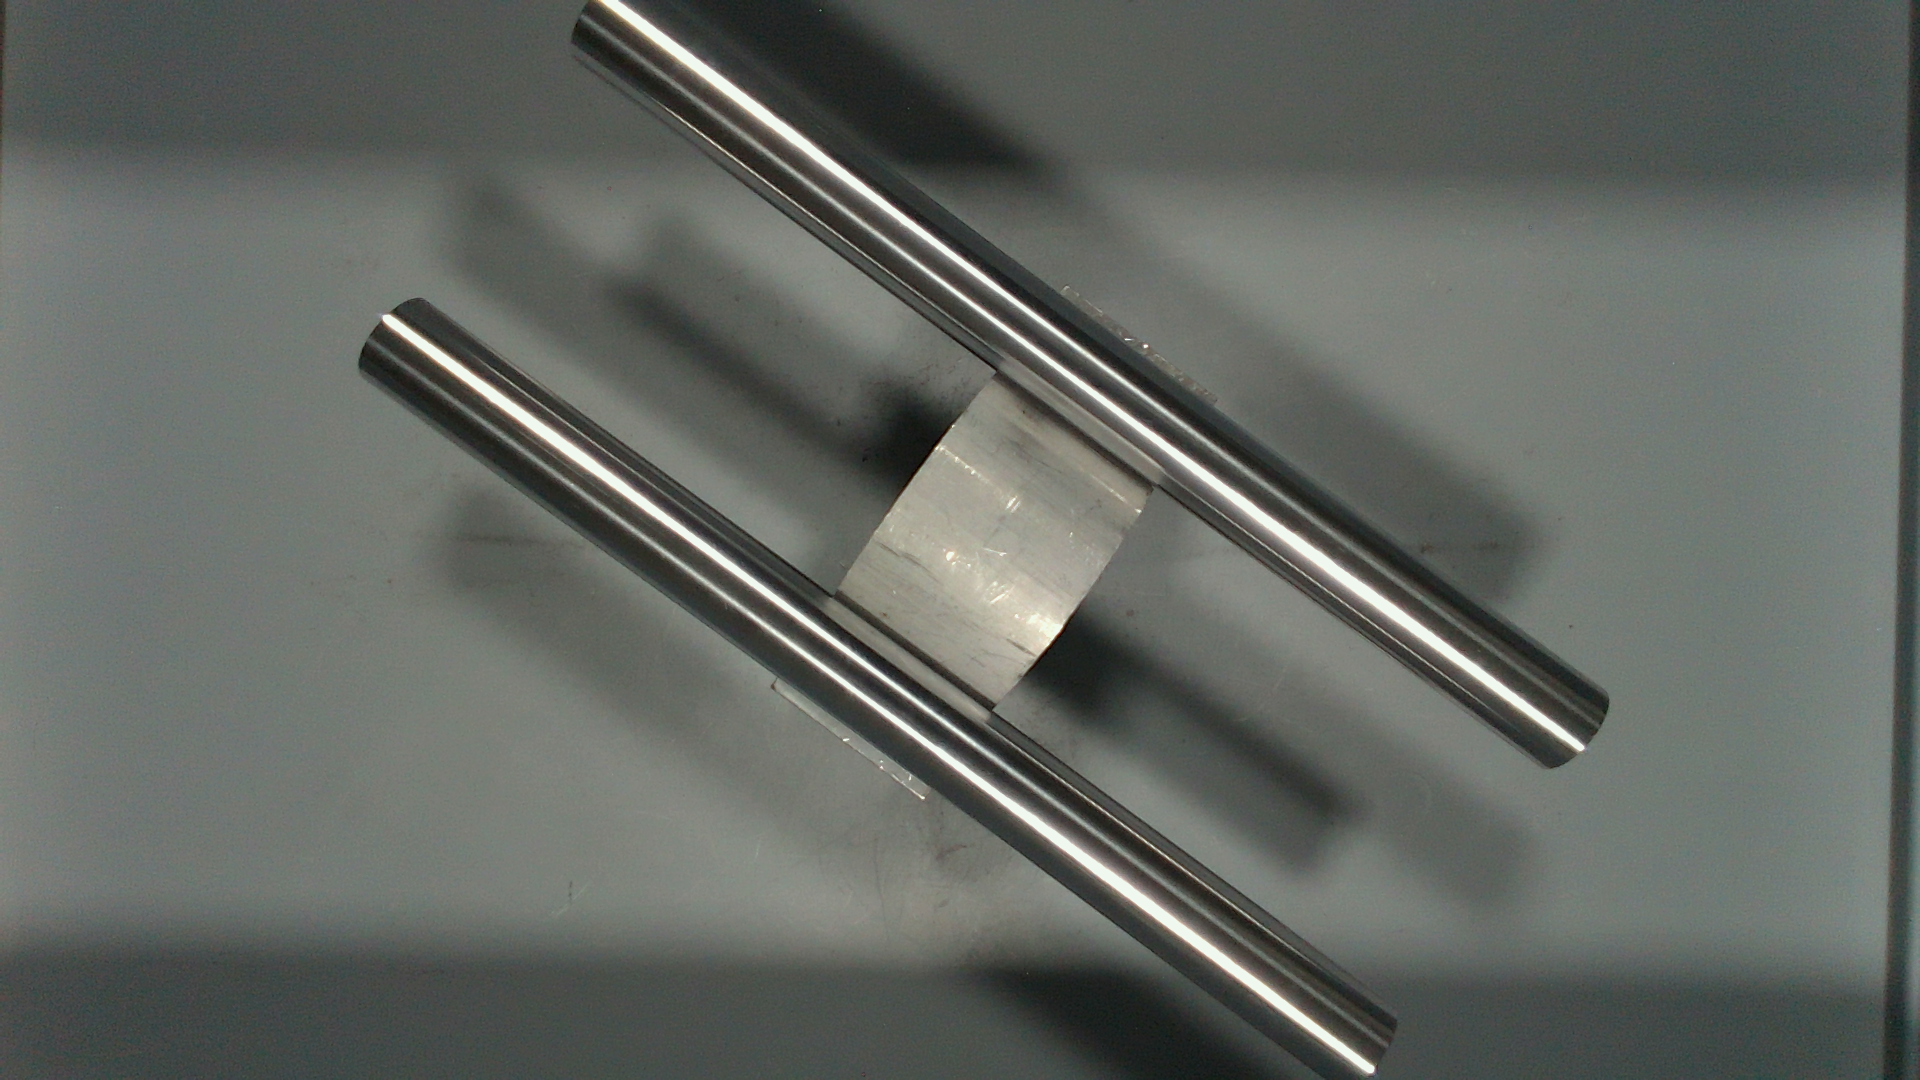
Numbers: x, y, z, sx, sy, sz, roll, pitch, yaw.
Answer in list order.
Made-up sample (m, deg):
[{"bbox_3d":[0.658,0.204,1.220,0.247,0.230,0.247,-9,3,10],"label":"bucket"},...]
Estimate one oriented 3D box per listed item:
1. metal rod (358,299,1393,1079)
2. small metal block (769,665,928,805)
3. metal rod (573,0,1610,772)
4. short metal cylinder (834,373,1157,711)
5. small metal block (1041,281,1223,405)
[{"bbox_3d":[-0.021,0.038,0.346,0.300,0.025,0.025,36,90,0],"label":"metal rod"},{"bbox_3d":[-0.022,0.044,0.382,0.050,0.050,0.025,37,90,0],"label":"small metal block"},{"bbox_3d":[0.033,-0.041,0.344,0.300,0.025,0.025,36,90,0],"label":"metal rod"},{"bbox_3d":[0.009,0.000,0.367,0.050,0.080,0.080,36,90,0],"label":"short metal cylinder"},{"bbox_3d":[0.041,-0.042,0.381,0.050,0.050,0.025,37,90,0],"label":"small metal block"}]
